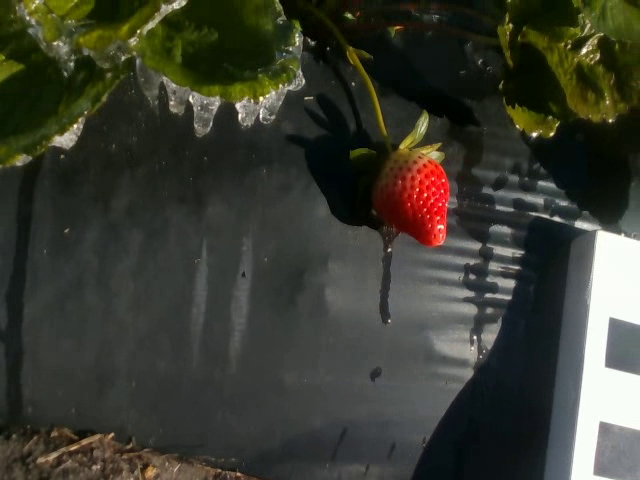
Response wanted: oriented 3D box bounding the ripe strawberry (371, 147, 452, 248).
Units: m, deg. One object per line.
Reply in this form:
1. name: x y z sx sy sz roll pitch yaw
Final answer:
1. ripe strawberry: 0.044 -0.017 0.270 0.039 0.053 0.041 -7 -27 -15
